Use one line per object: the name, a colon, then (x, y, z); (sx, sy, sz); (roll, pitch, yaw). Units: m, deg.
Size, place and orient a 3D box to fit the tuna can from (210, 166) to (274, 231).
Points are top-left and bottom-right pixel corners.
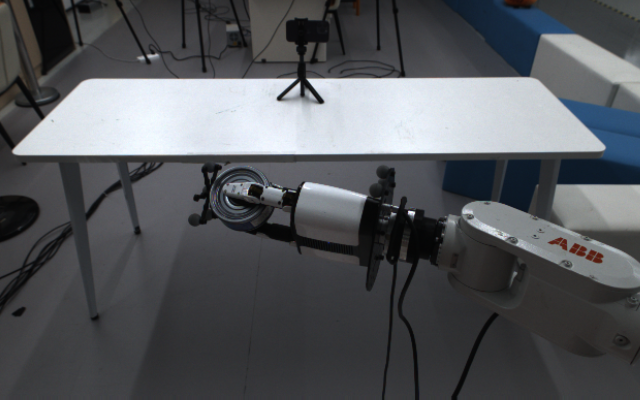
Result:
tuna can: (-0.103, -0.003, 0.656); (0.085, 0.034, 0.085); (-2, 69, 6)
